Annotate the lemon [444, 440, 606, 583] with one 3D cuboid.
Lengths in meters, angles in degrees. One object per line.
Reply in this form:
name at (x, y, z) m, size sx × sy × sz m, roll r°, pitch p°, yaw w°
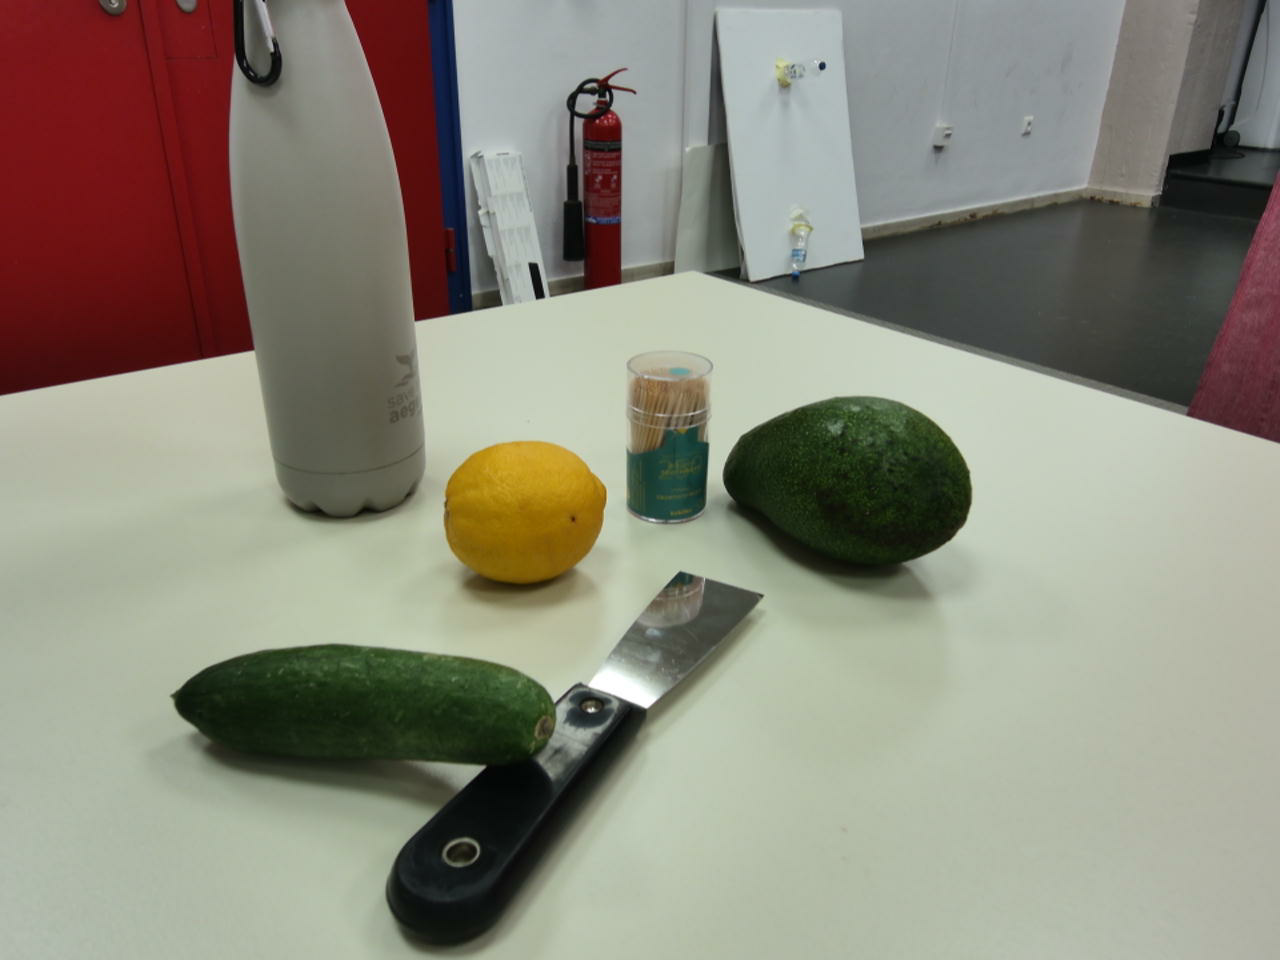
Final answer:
lemon at (-0.049, 0.013, 0.419) m, size 0.067 × 0.059 × 0.060 m, roll 1°, pitch 24°, yaw 3°
